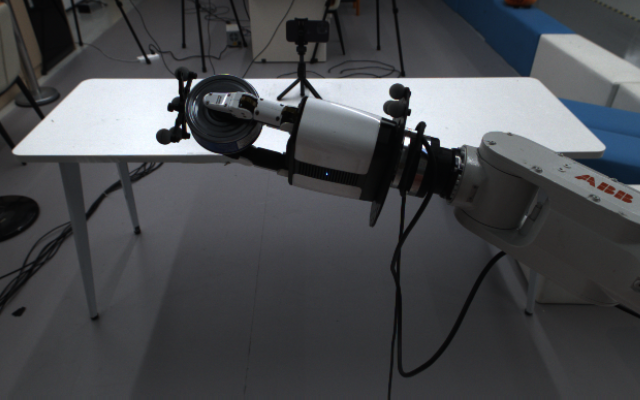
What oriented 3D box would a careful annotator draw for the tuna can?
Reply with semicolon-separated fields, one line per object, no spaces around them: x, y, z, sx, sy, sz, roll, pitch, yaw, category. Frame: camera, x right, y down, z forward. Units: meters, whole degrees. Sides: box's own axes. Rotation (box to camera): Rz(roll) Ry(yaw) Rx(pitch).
-0.106;-0.098;0.548;0.085;0.034;0.085;1;73;-5;tuna can
